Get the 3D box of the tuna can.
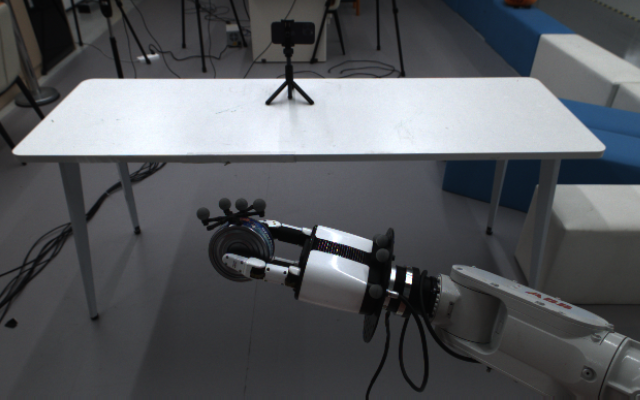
[{"bbox_3d":[-0.104,0.074,0.657,0.085,0.085,0.034,6,18,5],"label":"tuna can"}]
